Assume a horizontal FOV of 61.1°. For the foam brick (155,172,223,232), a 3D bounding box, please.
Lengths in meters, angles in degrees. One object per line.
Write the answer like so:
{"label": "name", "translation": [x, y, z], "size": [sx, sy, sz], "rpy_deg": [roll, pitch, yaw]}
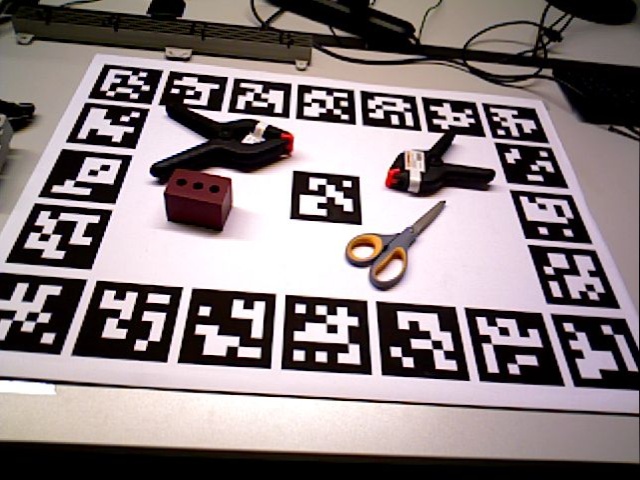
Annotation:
{"label": "foam brick", "translation": [-0.171, -0.050, 0.718], "size": [0.078, 0.052, 0.052], "rpy_deg": [8, 52, 4]}

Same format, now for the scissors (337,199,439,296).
{"label": "scissors", "translation": [0.105, -0.006, 0.734], "size": [0.087, 0.016, 0.198], "rpy_deg": [40, 55, 14]}

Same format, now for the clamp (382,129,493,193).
{"label": "clamp", "translation": [0.168, -0.114, 0.826], "size": [0.162, 0.037, 0.121], "rpy_deg": [-19, 63, -20]}

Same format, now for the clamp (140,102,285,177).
{"label": "clamp", "translation": [-0.154, -0.149, 0.807], "size": [0.201, 0.037, 0.163], "rpy_deg": [2, 48, -7]}
